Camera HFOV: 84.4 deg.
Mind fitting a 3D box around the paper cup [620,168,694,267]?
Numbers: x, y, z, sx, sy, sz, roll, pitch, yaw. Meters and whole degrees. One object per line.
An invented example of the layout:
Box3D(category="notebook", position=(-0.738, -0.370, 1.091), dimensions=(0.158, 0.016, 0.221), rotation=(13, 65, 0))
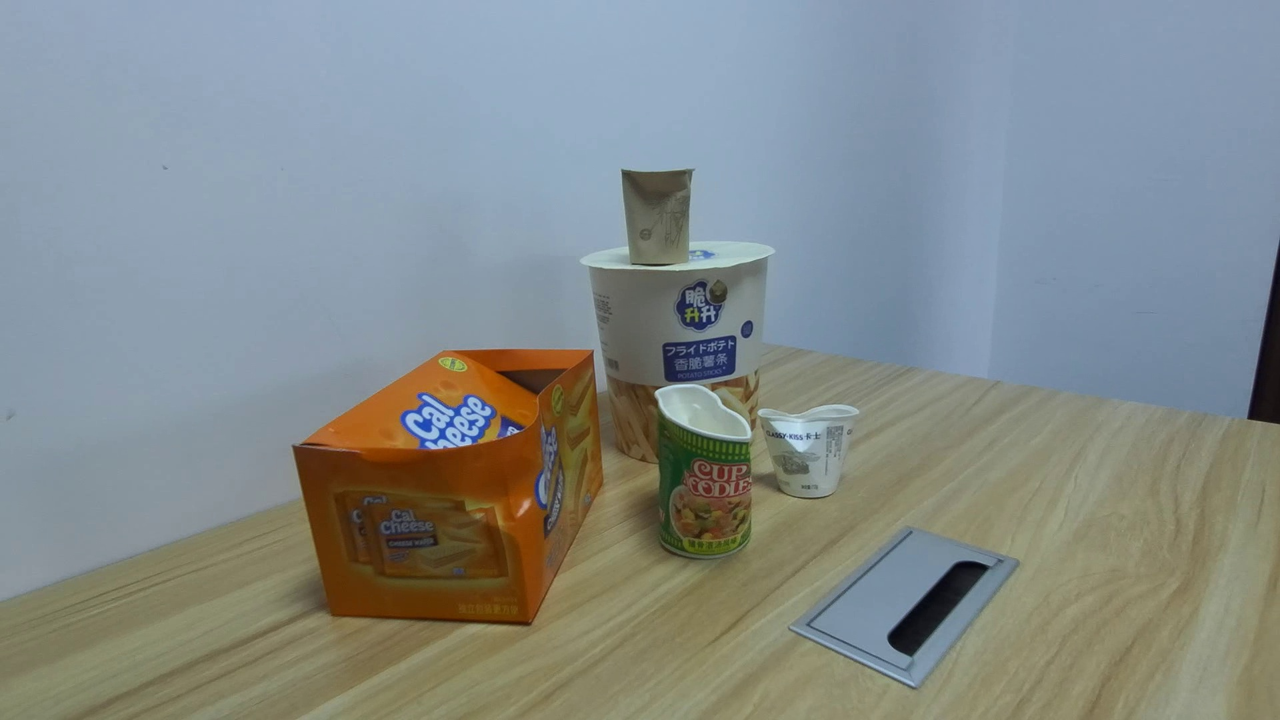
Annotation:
Box3D(category="paper cup", position=(0.018, -0.130, 0.637), dimensions=(0.066, 0.084, 0.072), rotation=(-1, 11, 12))

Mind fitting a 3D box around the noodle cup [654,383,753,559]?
Box3D(category="noodle cup", position=(0.047, 0.083, 0.526), dimensions=(0.070, 0.111, 0.115), rotation=(-2, 16, 7))

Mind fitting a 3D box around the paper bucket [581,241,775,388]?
Box3D(category="paper bucket", position=(0.042, -0.012, 0.714), dimensions=(0.198, 0.194, 0.198), rotation=(-3, 17, 1))

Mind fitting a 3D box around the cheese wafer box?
Box3D(category="cheese wafer box", position=(-0.123, 0.084, 0.543), dimensions=(0.152, 0.132, 0.230), rotation=(1, 15, 10))
